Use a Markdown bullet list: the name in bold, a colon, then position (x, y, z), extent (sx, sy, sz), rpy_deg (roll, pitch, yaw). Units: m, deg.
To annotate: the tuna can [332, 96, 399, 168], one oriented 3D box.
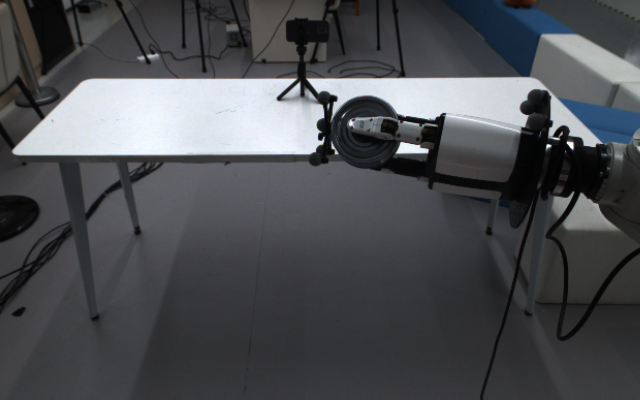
- **tuna can**: position (0.060, -0.081, 0.595), extent (0.085, 0.085, 0.034), rpy_deg (9, -7, 10)
